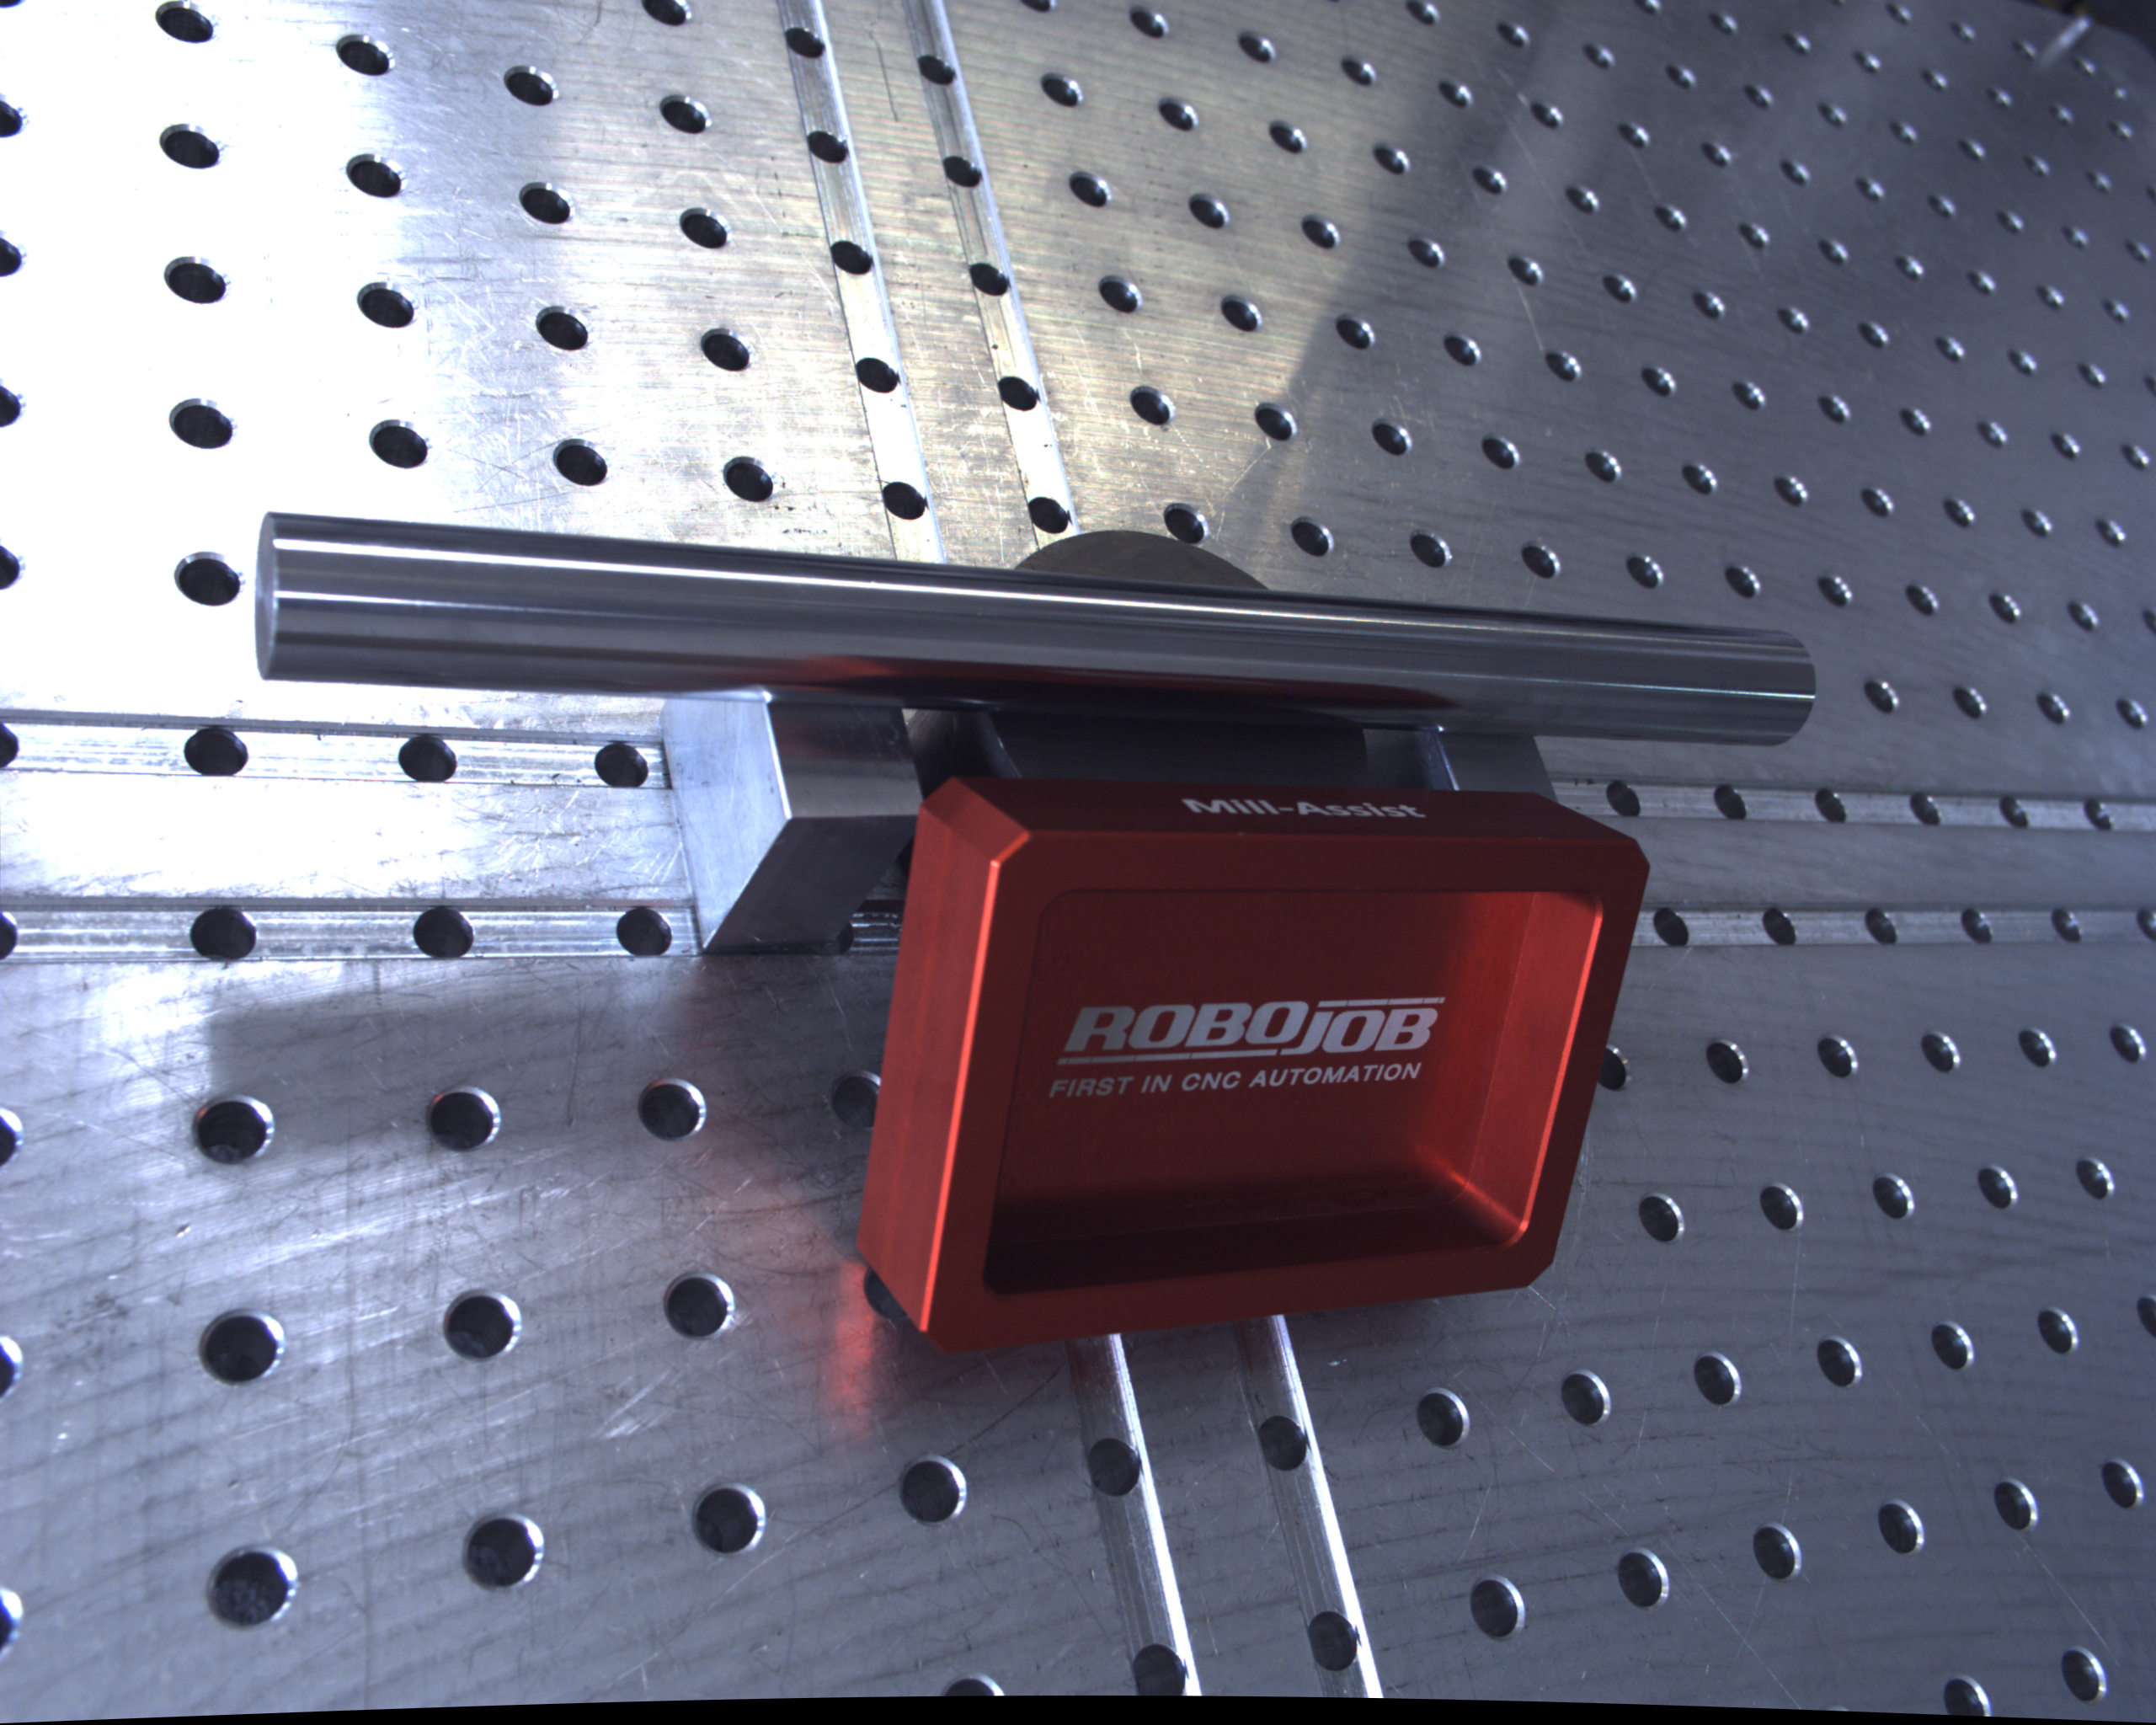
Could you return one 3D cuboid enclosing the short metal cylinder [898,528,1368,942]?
[{"bbox_3d":[0.009,-0.018,0.407,0.081,0.050,0.080,14,56,-21],"label":"short metal cylinder"}]

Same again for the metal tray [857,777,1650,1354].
[{"bbox_3d":[0.032,0.033,0.366,0.131,0.089,0.030,0,18,-28],"label":"metal tray"}]

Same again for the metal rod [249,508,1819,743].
[{"bbox_3d":[0.014,-0.038,0.375,0.303,0.025,0.025,0,62,-28],"label":"metal rod"}]

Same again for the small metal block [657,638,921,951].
[{"bbox_3d":[-0.053,-0.018,0.375,0.025,0.050,0.050,-1,62,-29],"label":"small metal block"}]

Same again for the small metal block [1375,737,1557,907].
[{"bbox_3d":[0.071,-0.015,0.440,0.025,0.050,0.050,-1,62,-29],"label":"small metal block"}]
